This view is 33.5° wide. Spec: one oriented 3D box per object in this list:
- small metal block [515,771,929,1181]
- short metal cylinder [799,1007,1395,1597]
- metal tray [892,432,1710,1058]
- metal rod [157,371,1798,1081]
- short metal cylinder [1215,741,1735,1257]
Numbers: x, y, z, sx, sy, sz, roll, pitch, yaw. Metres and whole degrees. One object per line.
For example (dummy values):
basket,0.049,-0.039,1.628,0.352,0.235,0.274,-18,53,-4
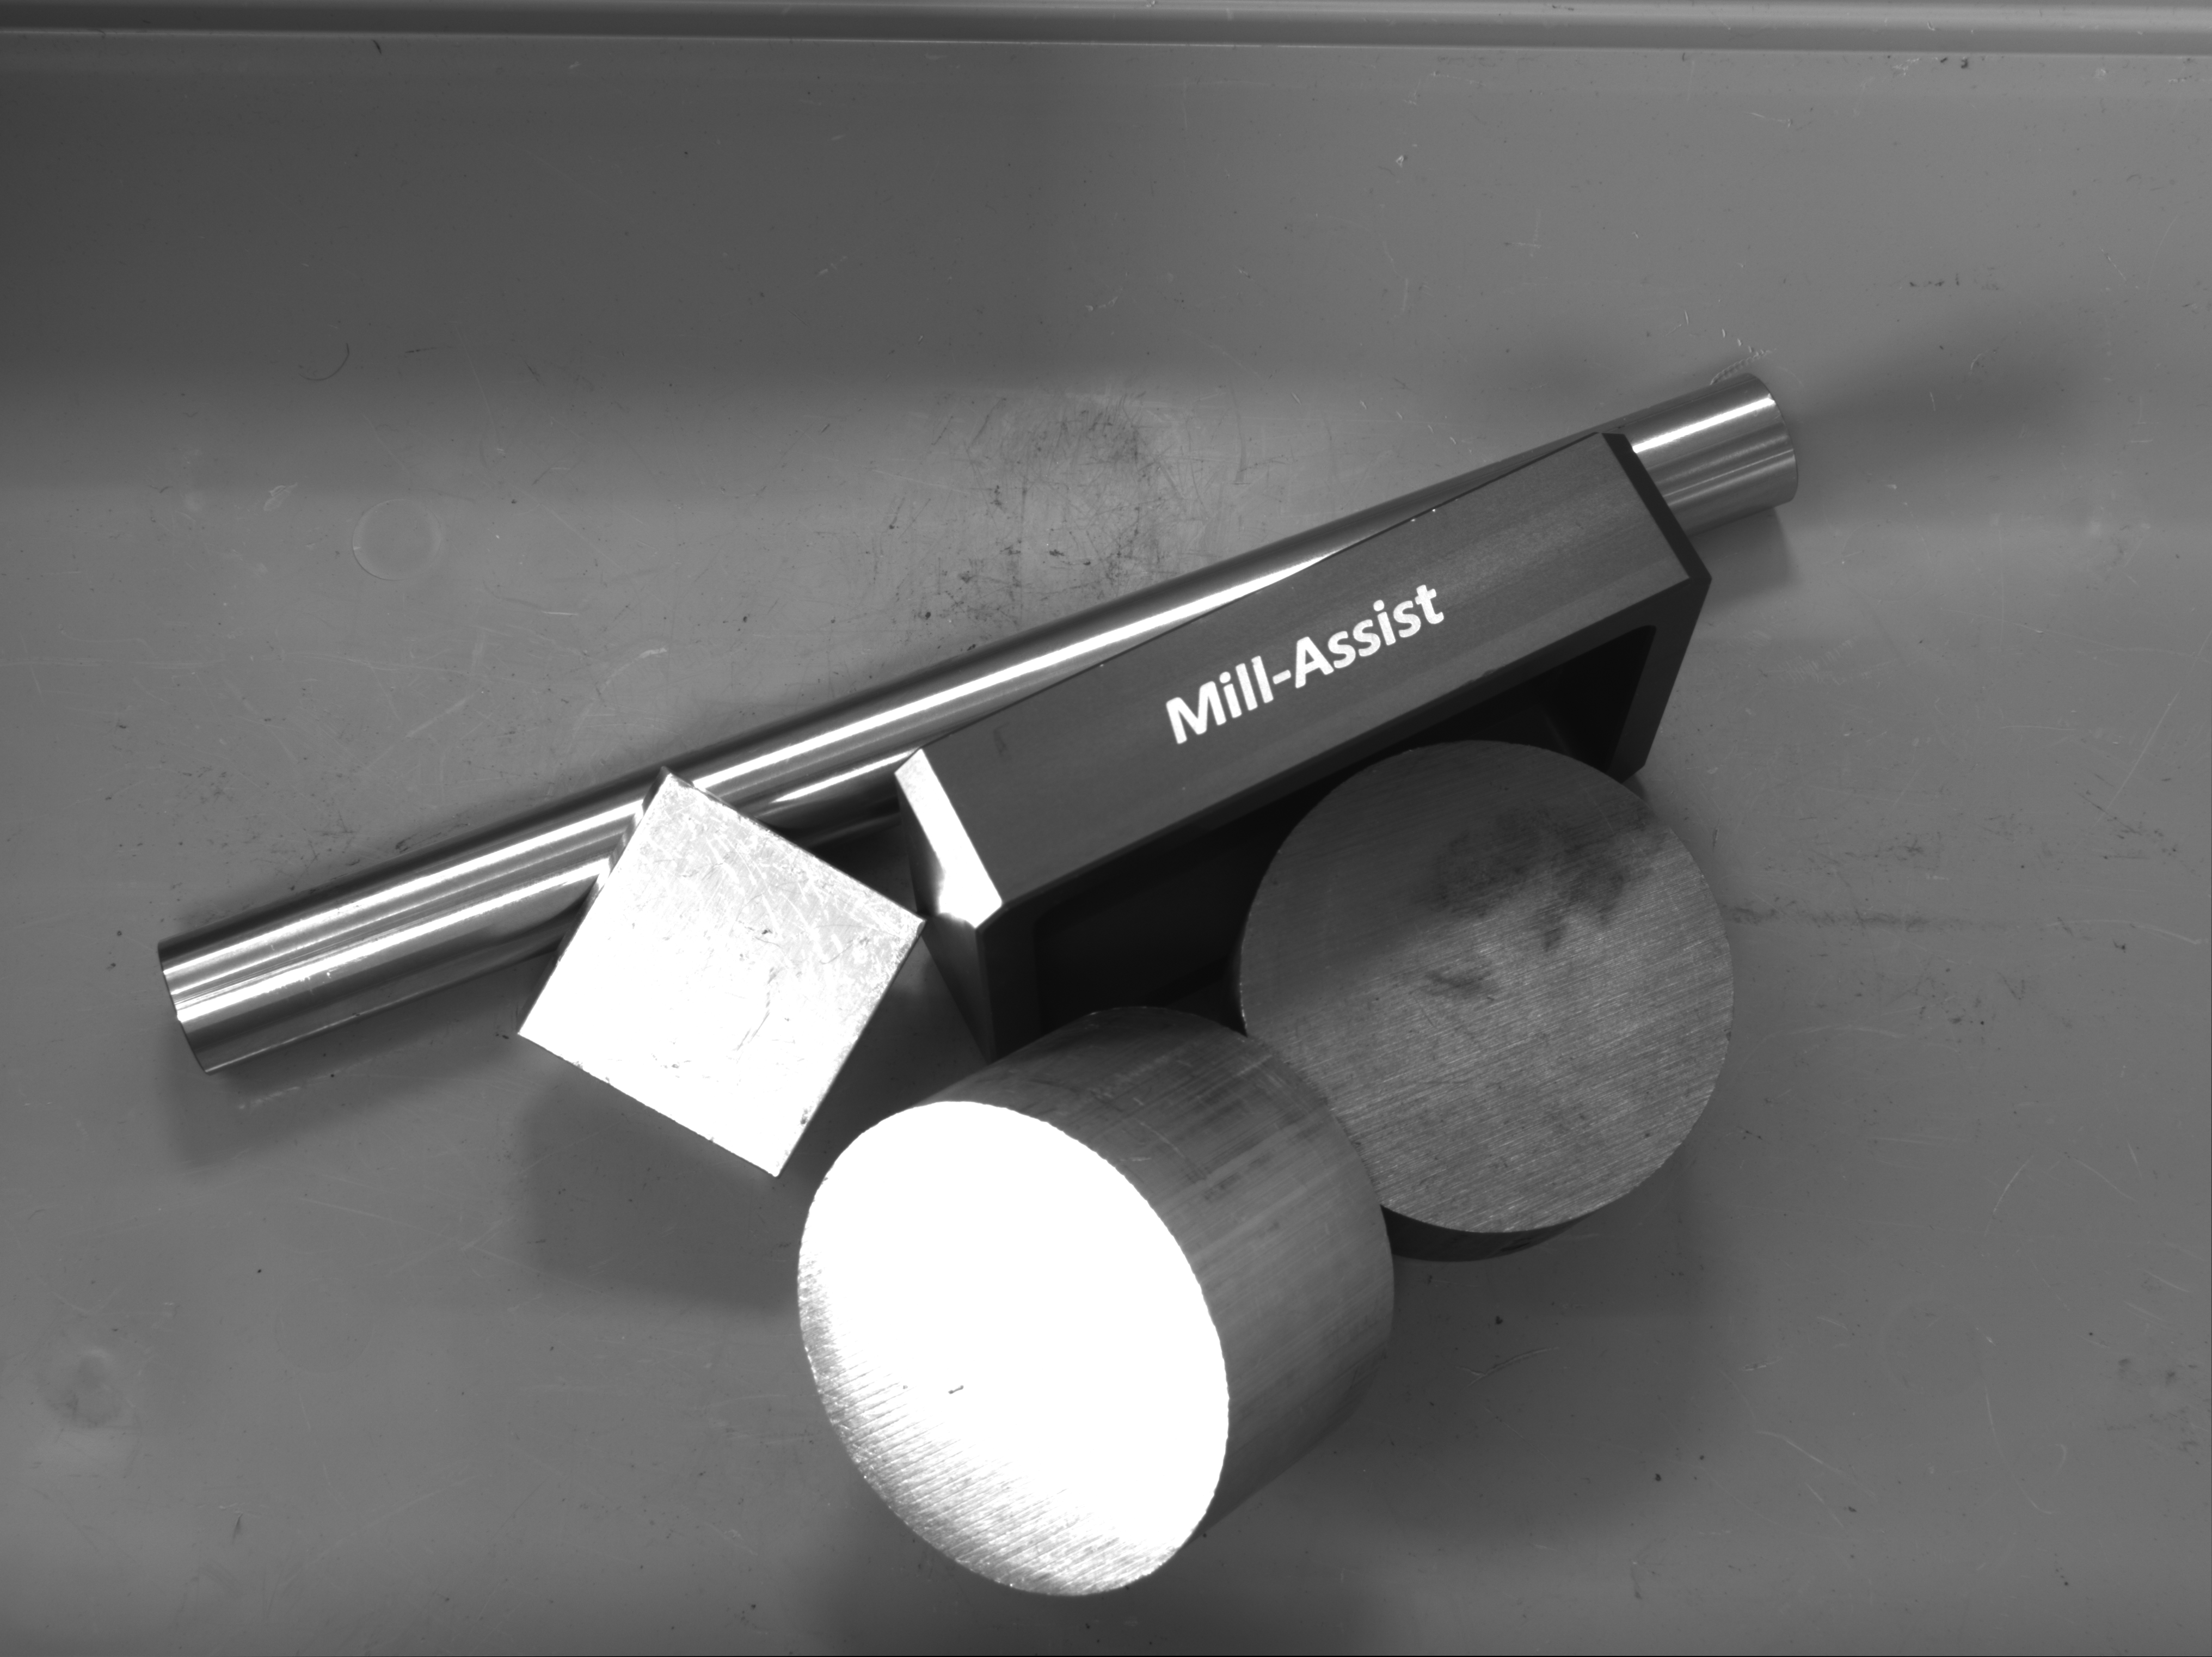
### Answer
small metal block,-0.065,0.024,0.622,0.050,0.025,0.050,30,88,-9
short metal cylinder,-0.001,0.074,0.580,0.080,0.080,0.050,46,35,15
metal tray,0.031,-0.010,0.613,0.130,0.090,0.030,-25,72,-9
metal rod,-0.019,-0.020,0.651,0.300,0.025,0.025,-20,71,-7
short metal cylinder,0.060,0.030,0.614,0.080,0.050,0.080,1,78,-4
